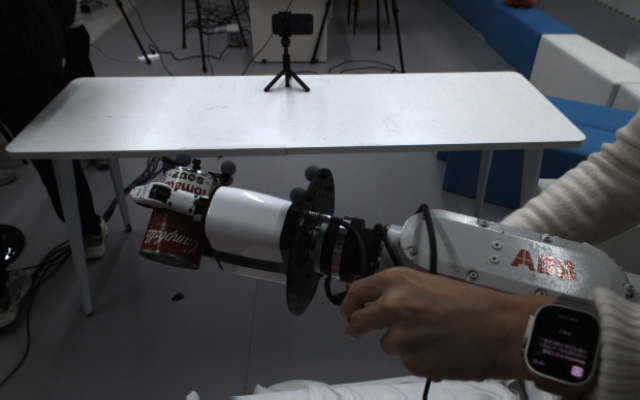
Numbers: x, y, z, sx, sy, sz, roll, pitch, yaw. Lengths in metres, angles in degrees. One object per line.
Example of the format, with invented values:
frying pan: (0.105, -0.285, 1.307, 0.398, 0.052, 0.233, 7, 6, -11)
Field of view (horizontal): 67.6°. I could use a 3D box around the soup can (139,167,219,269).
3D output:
soup can: (-0.155, 0.022, 0.548, 0.067, 0.067, 0.101, 9, 71, 9)
